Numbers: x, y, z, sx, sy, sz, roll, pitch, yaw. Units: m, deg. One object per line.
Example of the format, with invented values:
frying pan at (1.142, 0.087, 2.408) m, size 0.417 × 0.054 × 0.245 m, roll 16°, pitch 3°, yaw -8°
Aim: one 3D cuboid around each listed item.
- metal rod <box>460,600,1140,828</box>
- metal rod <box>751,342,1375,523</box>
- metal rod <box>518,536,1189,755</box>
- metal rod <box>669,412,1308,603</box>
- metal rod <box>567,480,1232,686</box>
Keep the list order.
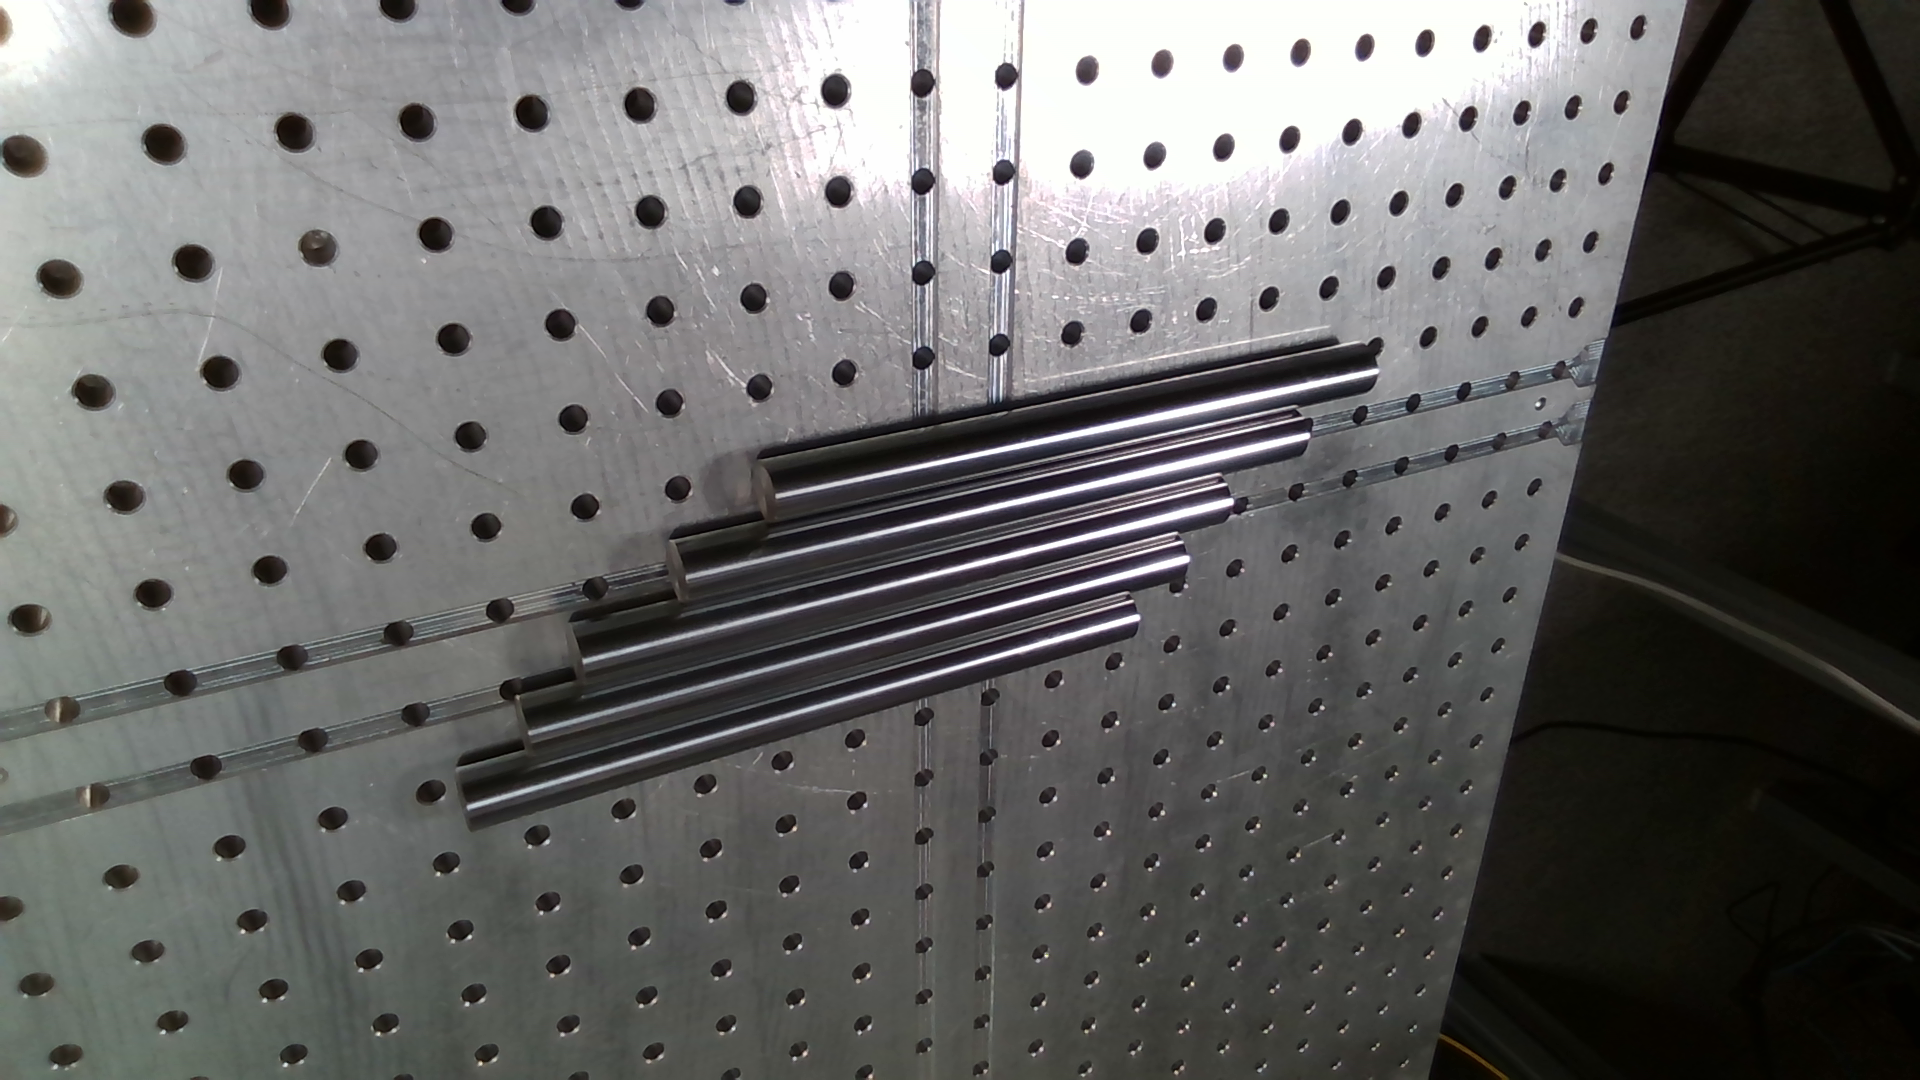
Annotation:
metal rod at (-0.055, 0.066, 0.585) m, size 0.300 × 0.025 × 0.025 m, roll -13°, pitch 121°, yaw -25°
metal rod at (0.057, -0.050, 0.591) m, size 0.300 × 0.025 × 0.025 m, roll -13°, pitch 121°, yaw -25°
metal rod at (-0.032, 0.038, 0.584) m, size 0.300 × 0.025 × 0.025 m, roll -13°, pitch 121°, yaw -25°
metal rod at (0.024, -0.019, 0.587) m, size 0.300 × 0.025 × 0.025 m, roll -13°, pitch 121°, yaw -25°
metal rod at (-0.012, 0.011, 0.581) m, size 0.300 × 0.025 × 0.025 m, roll -13°, pitch 121°, yaw -25°
